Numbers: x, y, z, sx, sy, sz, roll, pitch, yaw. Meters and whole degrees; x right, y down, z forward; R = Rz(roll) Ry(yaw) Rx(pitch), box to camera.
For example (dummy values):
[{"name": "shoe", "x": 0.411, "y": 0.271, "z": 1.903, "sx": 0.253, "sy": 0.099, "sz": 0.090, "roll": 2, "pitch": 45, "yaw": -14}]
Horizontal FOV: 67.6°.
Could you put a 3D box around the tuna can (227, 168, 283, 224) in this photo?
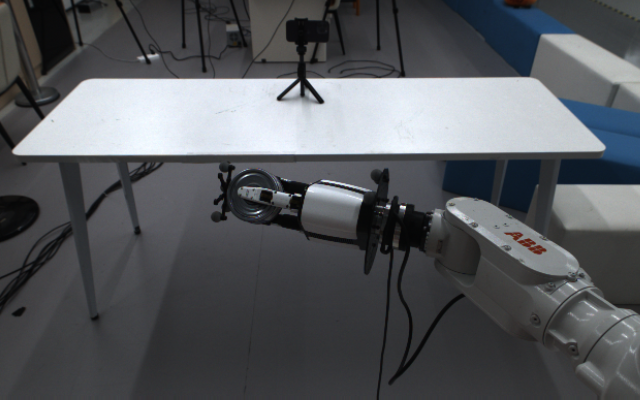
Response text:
[{"name": "tuna can", "x": -0.098, "y": -0.007, "z": 0.750, "sx": 0.085, "sy": 0.085, "sz": 0.034, "roll": 10, "pitch": -6, "yaw": 11}]
